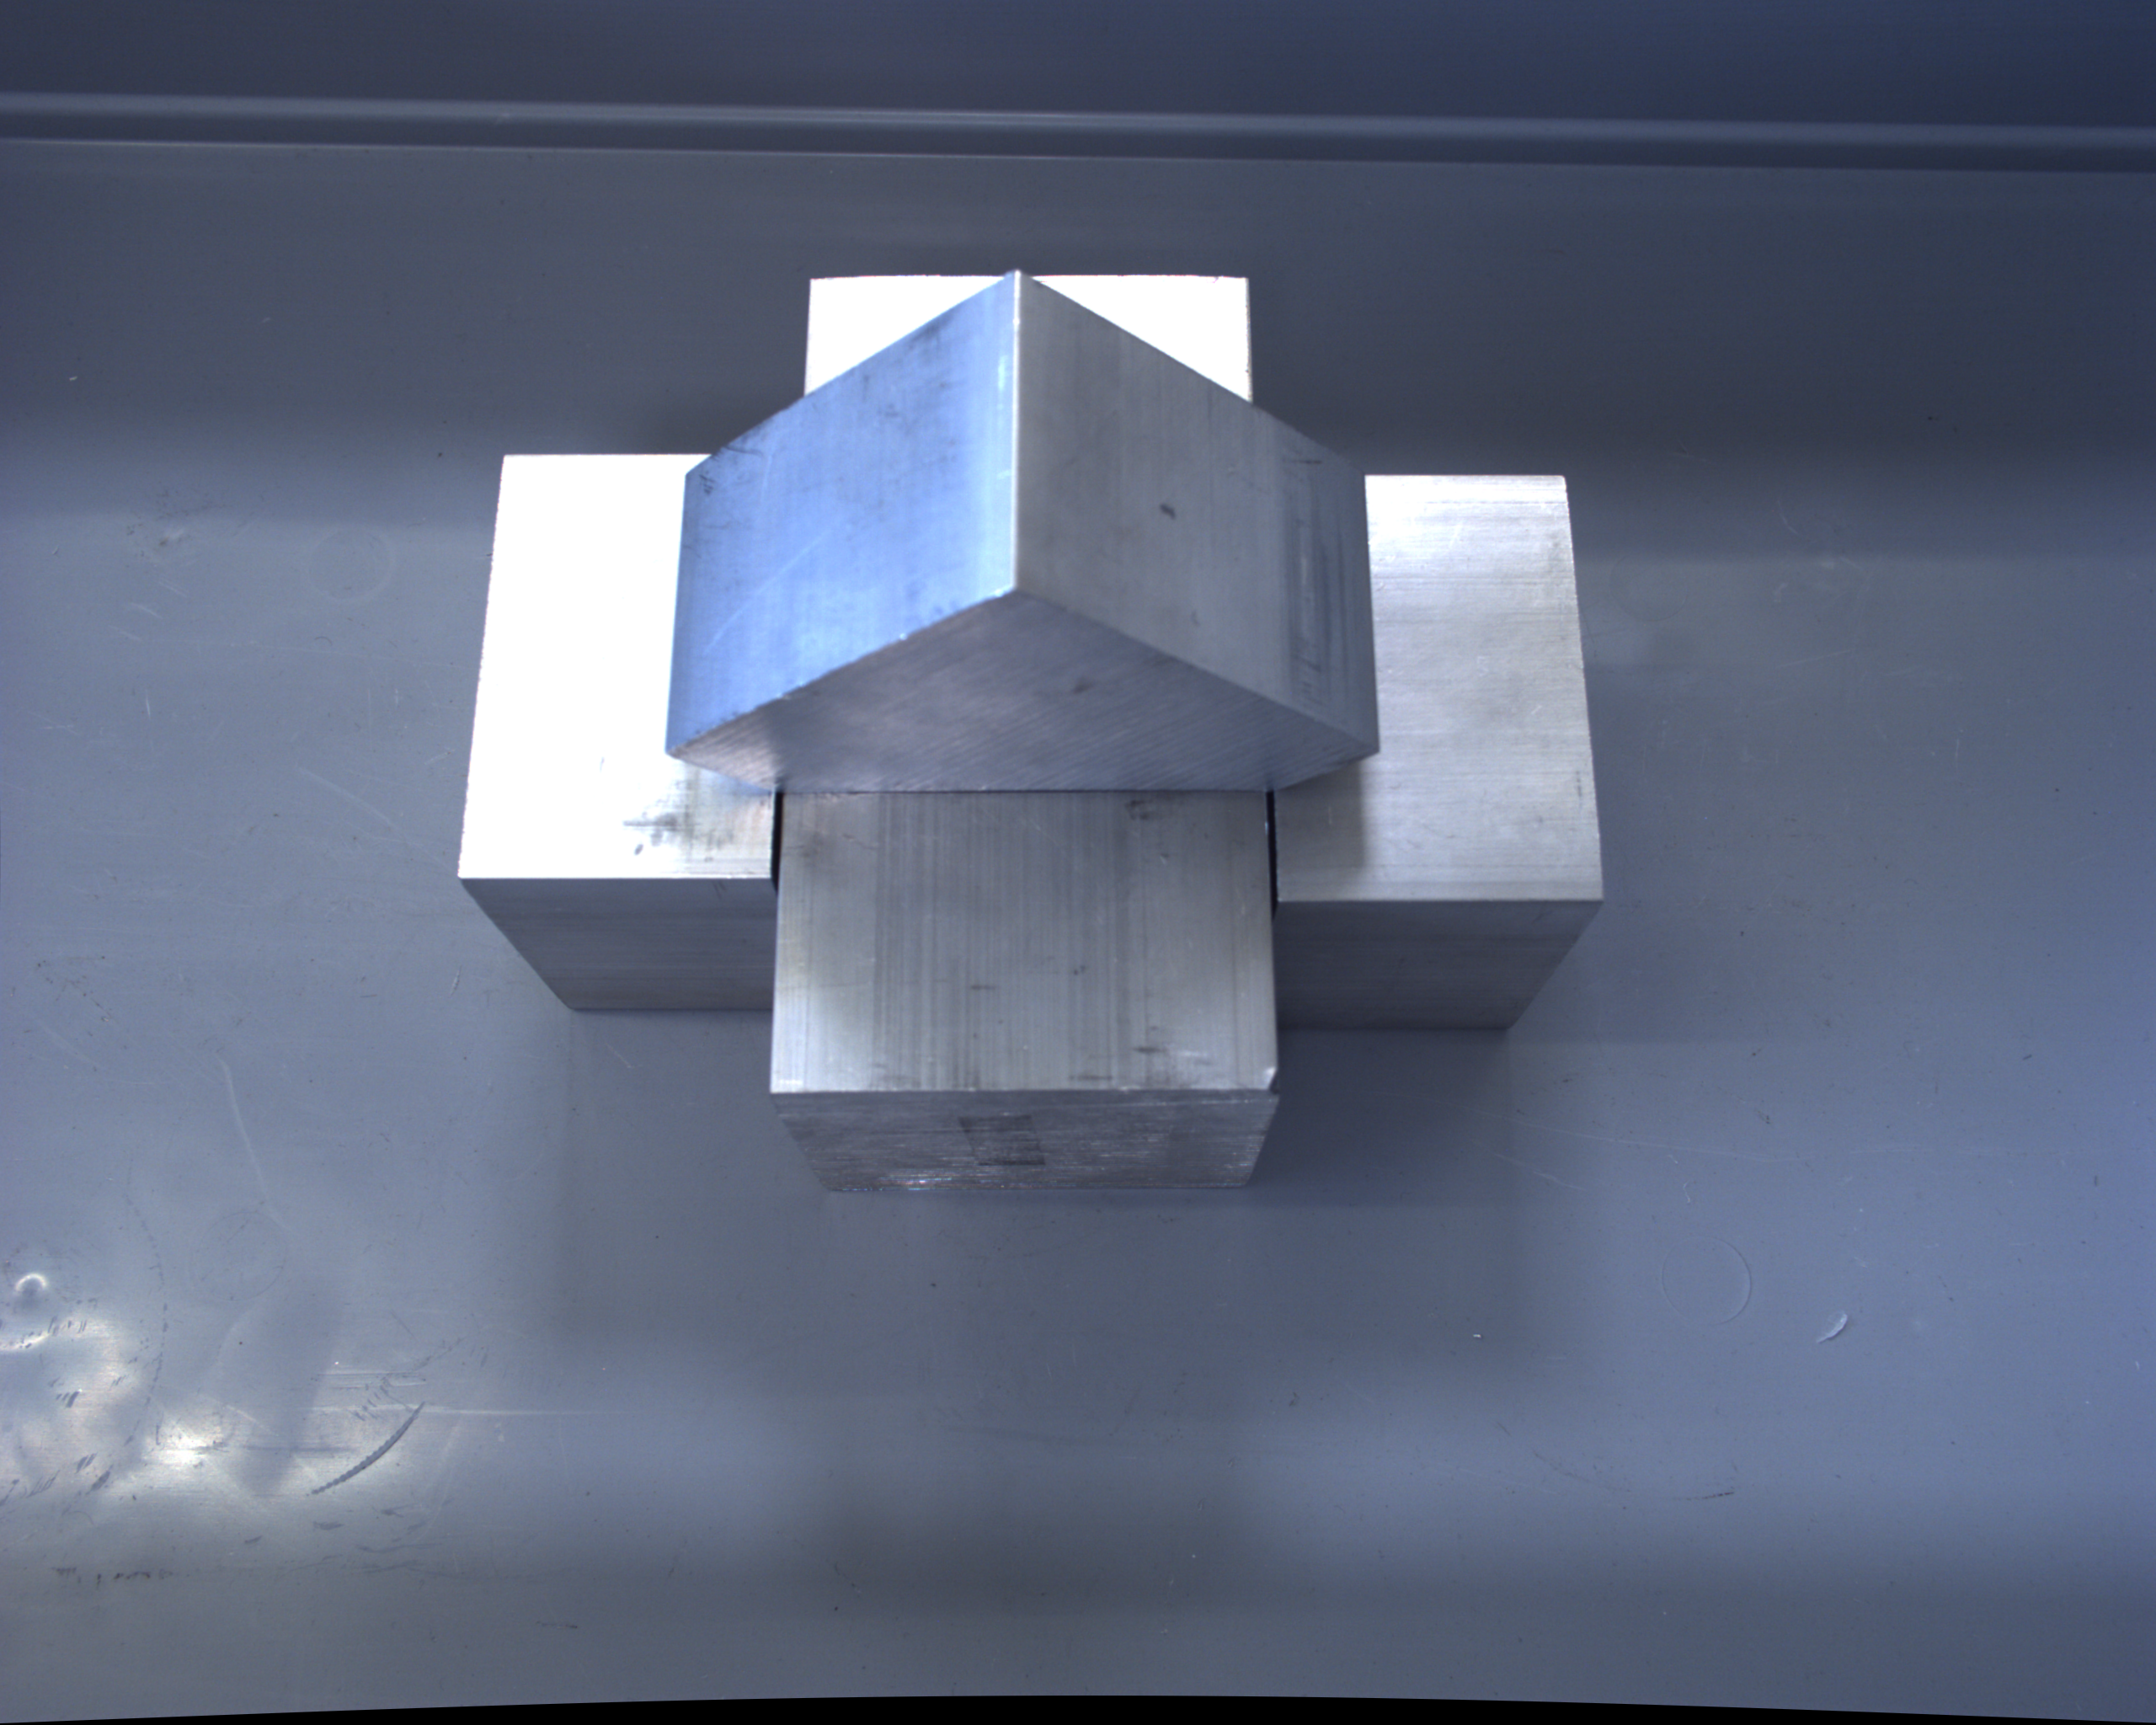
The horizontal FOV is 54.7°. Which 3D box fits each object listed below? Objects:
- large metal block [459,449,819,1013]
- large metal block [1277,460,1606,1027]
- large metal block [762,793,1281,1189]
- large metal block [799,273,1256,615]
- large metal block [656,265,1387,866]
[{"bbox_3d":[-0.074,-0.021,0.387,0.050,0.080,0.080,0,70,0],"label":"large metal block"},{"bbox_3d":[0.059,-0.019,0.384,0.050,0.080,0.080,0,70,0],"label":"large metal block"},{"bbox_3d":[-0.009,0.025,0.370,0.081,0.080,0.050,0,70,0],"label":"large metal block"},{"bbox_3d":[-0.009,-0.069,0.404,0.081,0.080,0.050,0,70,0],"label":"large metal block"},{"bbox_3d":[-0.009,-0.040,0.334,0.080,0.080,0.050,19,63,-42],"label":"large metal block"}]
